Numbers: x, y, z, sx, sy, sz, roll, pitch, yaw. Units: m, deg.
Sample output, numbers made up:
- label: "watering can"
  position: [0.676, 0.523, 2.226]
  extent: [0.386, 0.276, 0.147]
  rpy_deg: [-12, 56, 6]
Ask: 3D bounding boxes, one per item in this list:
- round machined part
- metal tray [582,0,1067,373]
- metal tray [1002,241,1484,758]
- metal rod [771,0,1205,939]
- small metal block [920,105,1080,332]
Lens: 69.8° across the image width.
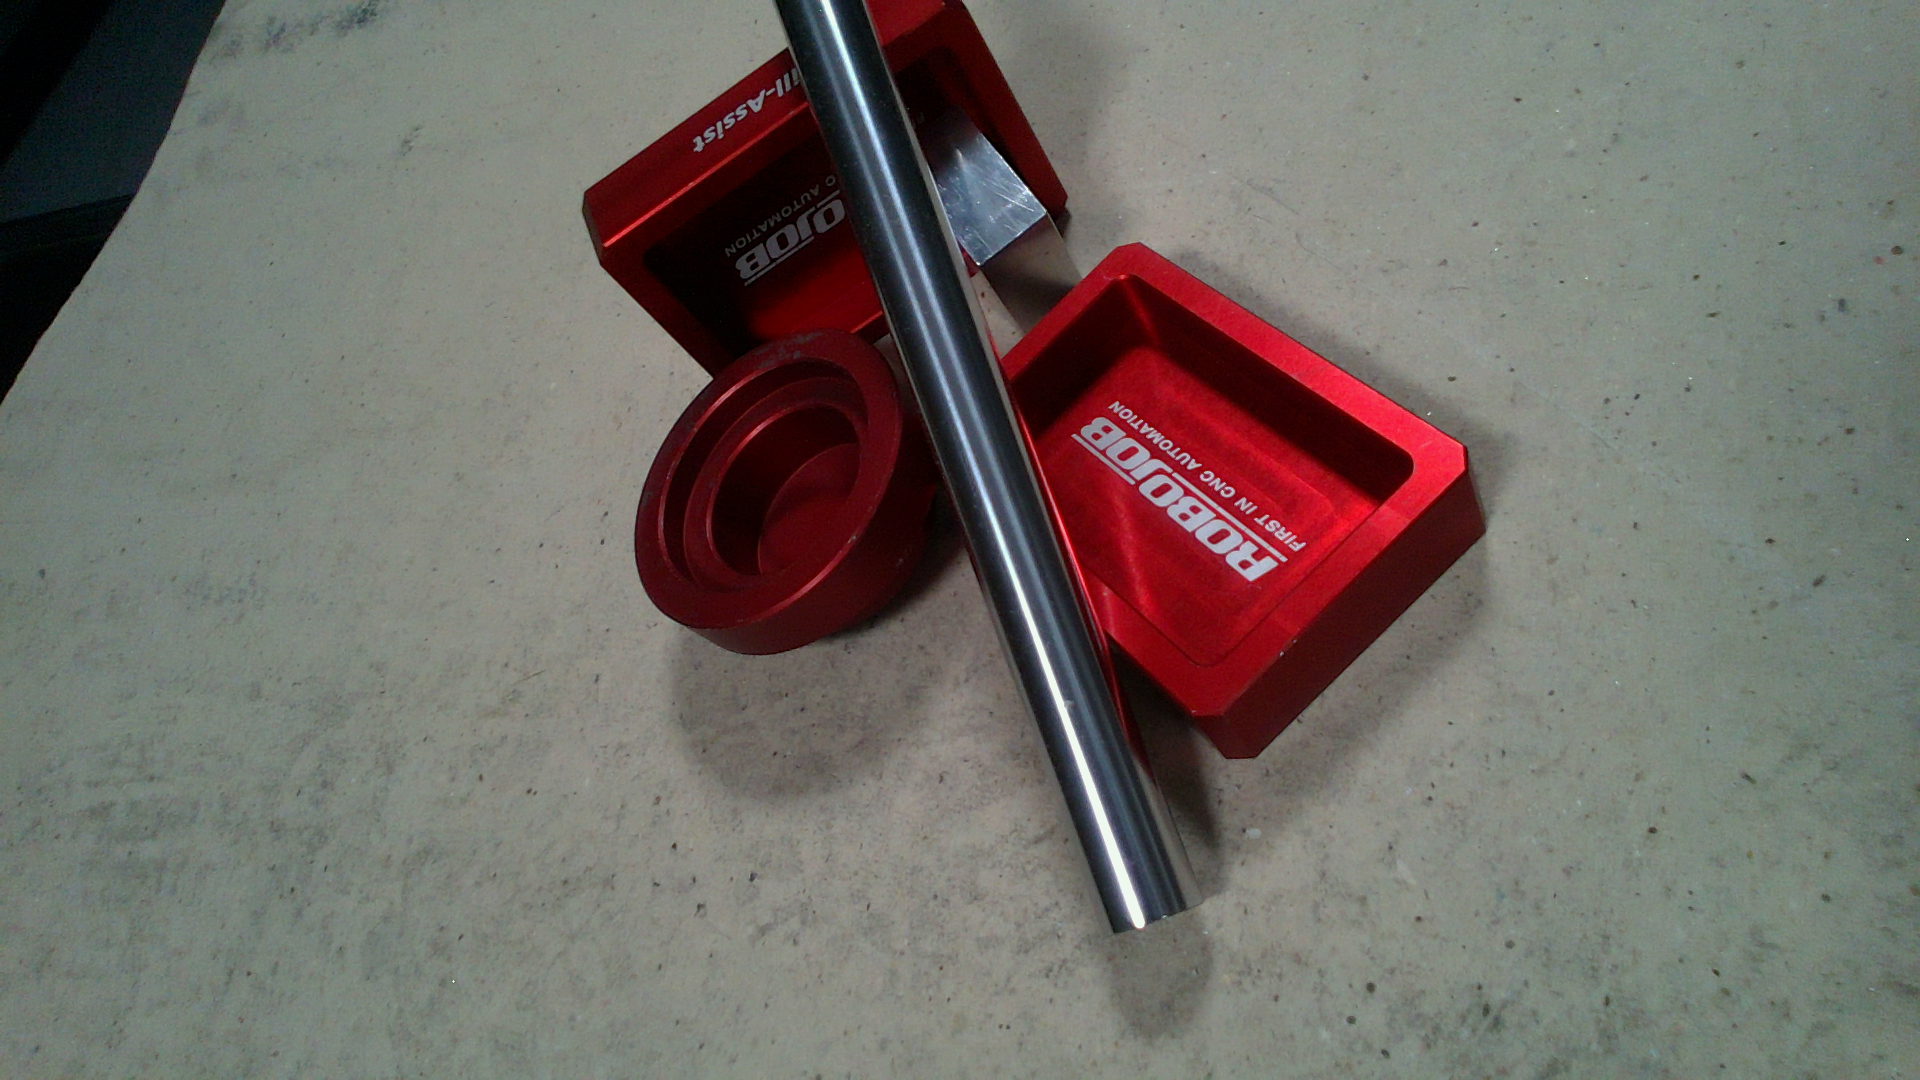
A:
- label: "round machined part"
  position: [-0.047, -0.011, 0.410]
  extent: [0.098, 0.042, 0.098]
  rpy_deg: [-17, 56, 27]
- label: "metal tray"
  position: [-0.041, -0.108, 0.440]
  extent: [0.130, 0.090, 0.030]
  rpy_deg: [-33, 51, 7]
- label: "metal tray"
  position: [0.059, -0.016, 0.369]
  extent: [0.090, 0.030, 0.130]
  rpy_deg: [-44, 51, -2]
- label: "metal rod"
  position: [-0.004, -0.048, 0.357]
  extent: [0.025, 0.025, 0.300]
  rpy_deg: [-23, 75, 14]
- label: "small metal block"
  position: [0.010, -0.097, 0.426]
  extent: [0.025, 0.050, 0.050]
  rpy_deg: [-38, 65, 6]
